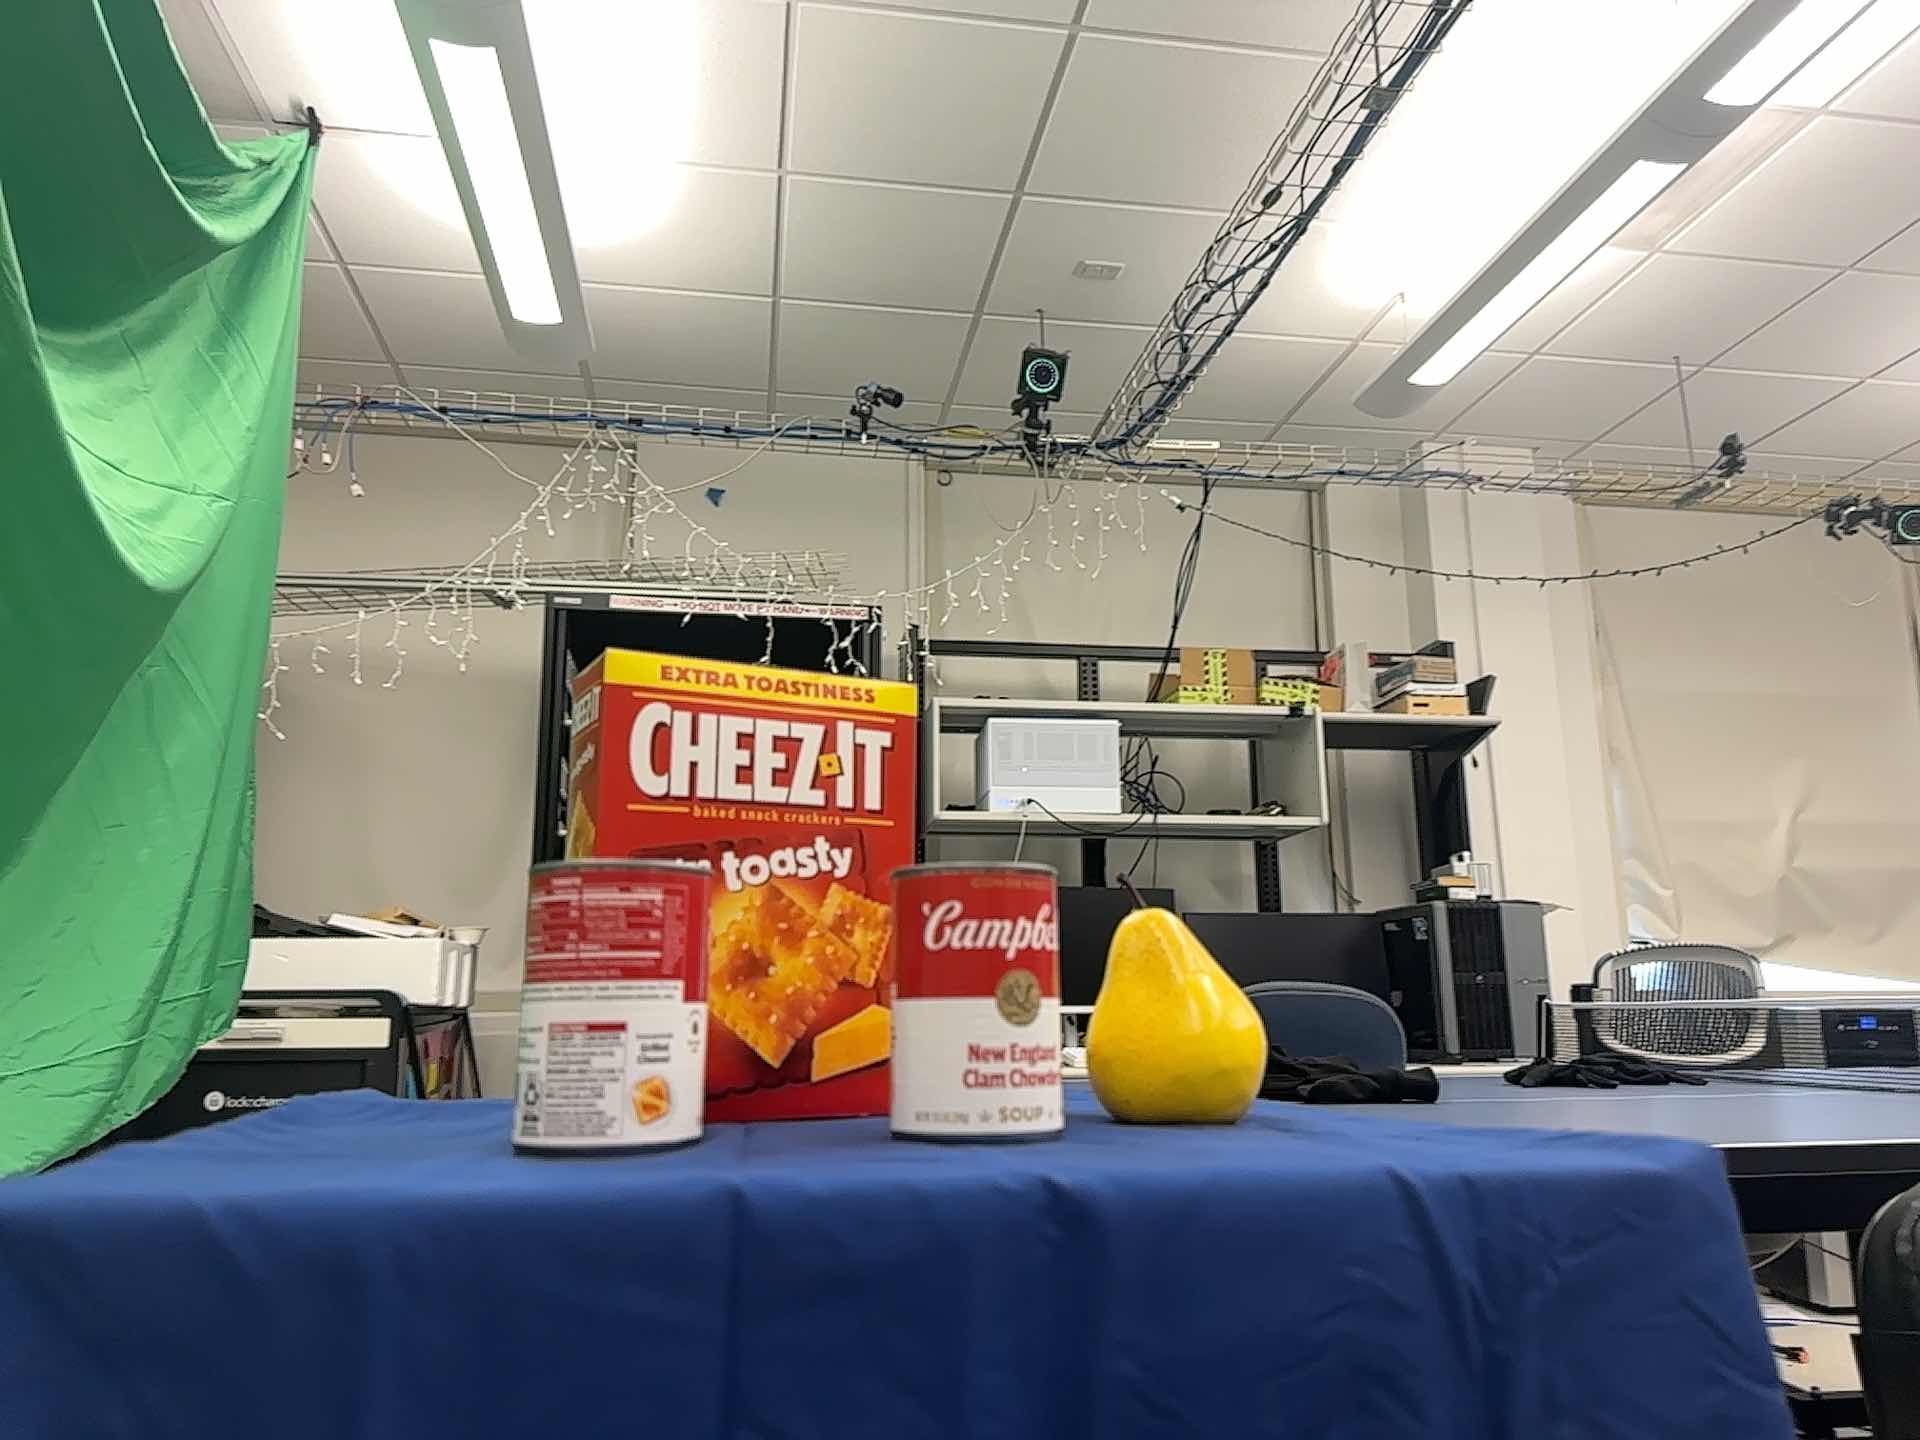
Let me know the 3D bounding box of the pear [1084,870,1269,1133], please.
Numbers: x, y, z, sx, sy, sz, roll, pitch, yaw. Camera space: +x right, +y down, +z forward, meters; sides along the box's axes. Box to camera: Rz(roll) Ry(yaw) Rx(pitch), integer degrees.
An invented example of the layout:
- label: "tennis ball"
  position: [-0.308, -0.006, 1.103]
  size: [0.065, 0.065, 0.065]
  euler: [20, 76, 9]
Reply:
- label: "pear"
  position: [0.095, 0.123, 0.593]
  size: [0.080, 0.111, 0.080]
  euler: [2, -12, 0]

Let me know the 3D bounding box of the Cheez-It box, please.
- label: "Cheez-It box"
  position: [-0.108, 0.084, 0.663]
  size: [0.159, 0.214, 0.062]
  euler: [6, -13, -26]

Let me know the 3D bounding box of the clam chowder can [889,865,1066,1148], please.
- label: "clam chowder can"
  position: [0.006, 0.111, 0.525]
  size: [0.068, 0.102, 0.068]
  euler: [0, -12, 0]

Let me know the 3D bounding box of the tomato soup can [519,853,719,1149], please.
- label: "tomato soup can"
  position: [-0.126, 0.103, 0.498]
  size: [0.067, 0.102, 0.067]
  euler: [-1, -13, 0]
